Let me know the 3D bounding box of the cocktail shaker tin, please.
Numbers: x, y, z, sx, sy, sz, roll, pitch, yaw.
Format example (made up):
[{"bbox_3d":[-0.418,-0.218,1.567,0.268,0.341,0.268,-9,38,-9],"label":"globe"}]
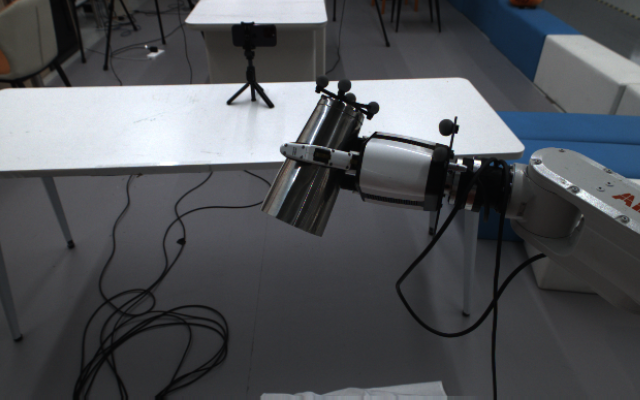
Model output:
[{"bbox_3d":[-0.003,-0.049,0.650,0.093,0.170,0.093,23,0,0],"label":"cocktail shaker tin"}]
